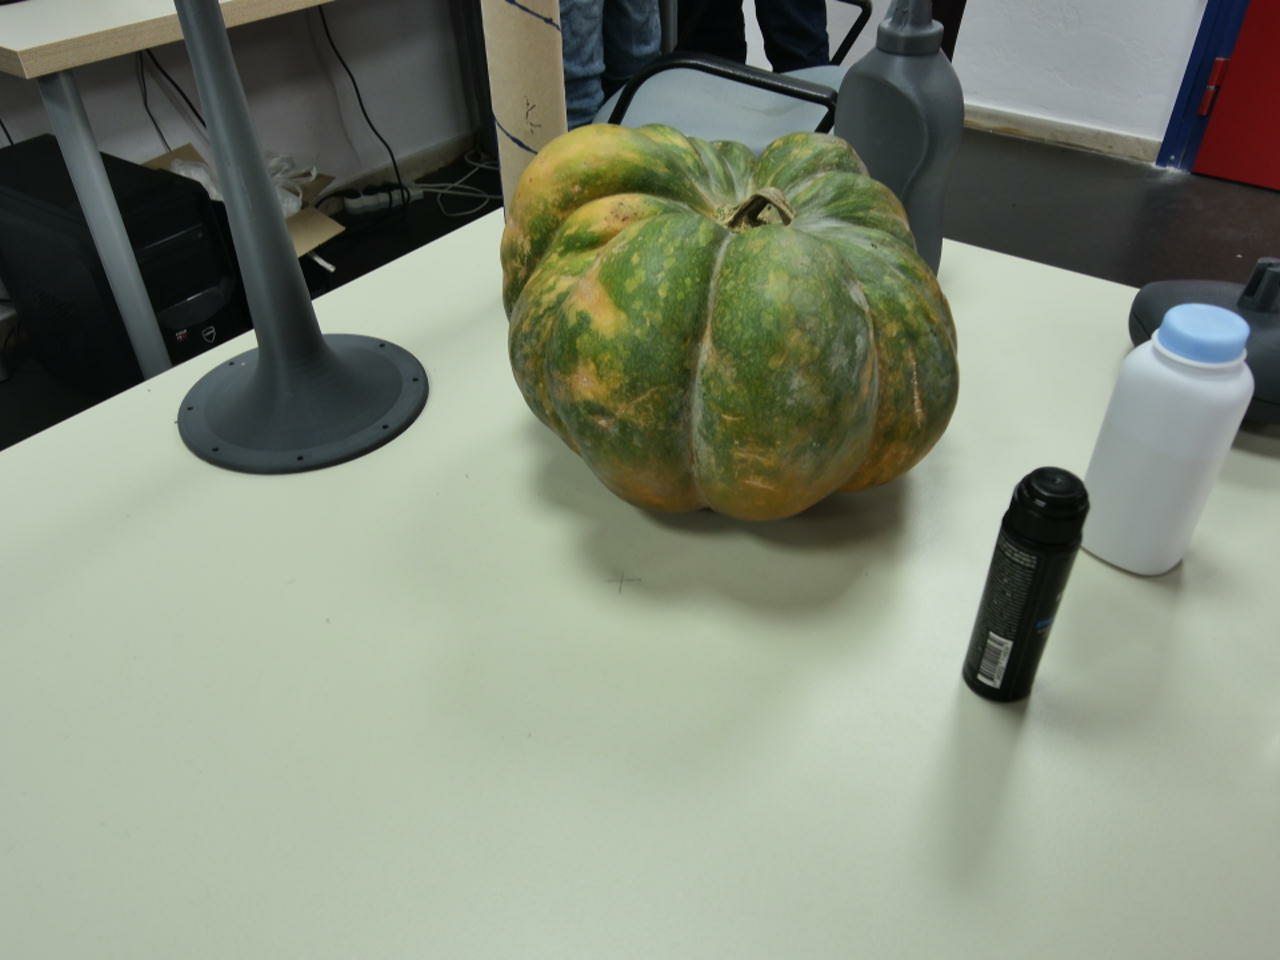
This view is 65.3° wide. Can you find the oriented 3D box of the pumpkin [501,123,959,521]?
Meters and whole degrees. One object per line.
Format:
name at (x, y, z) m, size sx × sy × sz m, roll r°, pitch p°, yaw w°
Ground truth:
pumpkin at (0.047, -0.091, 0.534) m, size 0.237 × 0.173 × 0.270 m, roll -9°, pitch 38°, yaw -12°
